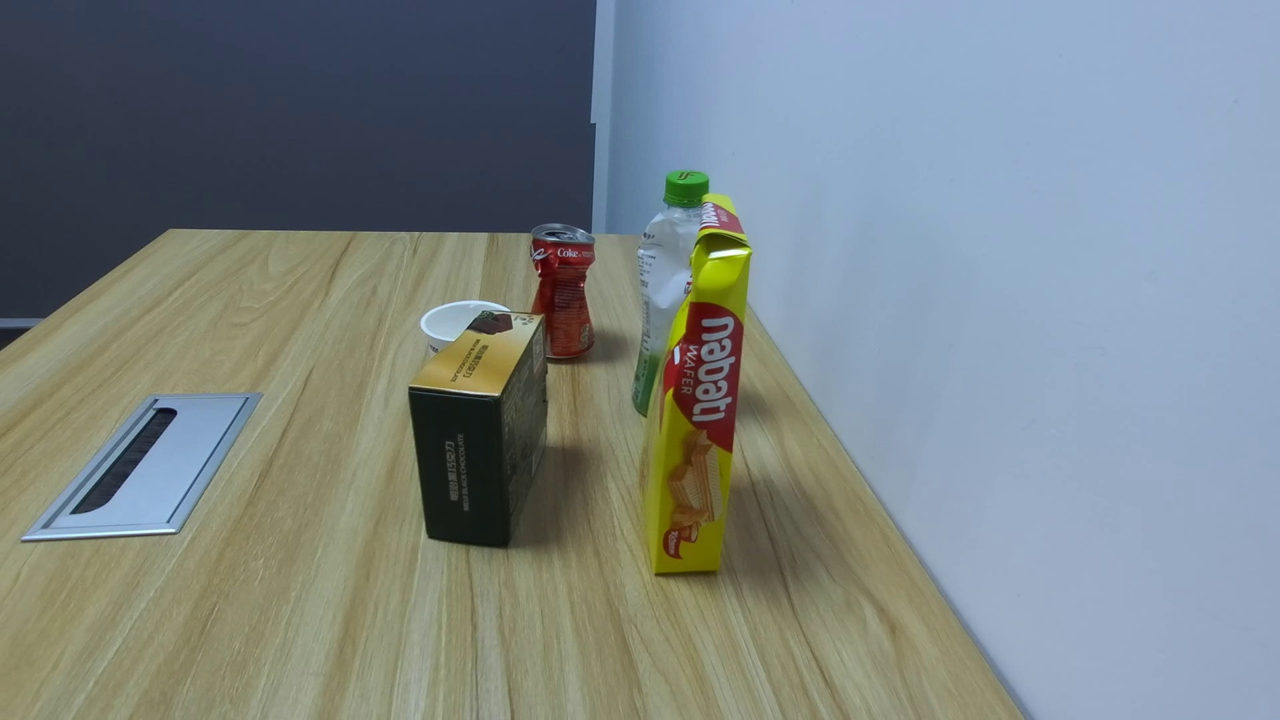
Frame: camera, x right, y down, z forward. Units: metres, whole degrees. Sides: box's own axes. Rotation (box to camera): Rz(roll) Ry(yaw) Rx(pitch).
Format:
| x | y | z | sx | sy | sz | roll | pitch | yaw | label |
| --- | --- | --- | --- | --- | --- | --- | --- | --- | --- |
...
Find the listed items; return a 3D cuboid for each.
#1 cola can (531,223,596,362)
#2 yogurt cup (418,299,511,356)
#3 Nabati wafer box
| x | y | z | sx | sy | sz | roll | pitch | yaw | label |
| --- | --- | --- | --- | --- | --- | --- | --- | --- | --- |
| -0.069 | -0.059 | 0.626 | 0.065 | 0.112 | 0.069 | 9 | 26 | 11 | cola can |
| -0.134 | -0.002 | 0.561 | 0.072 | 0.068 | 0.072 | 3 | 29 | -1 | yogurt cup |
| 0.029 | 0.014 | 0.401 | 0.043 | 0.205 | 0.113 | 1 | 28 | -8 | Nabati wafer box |
